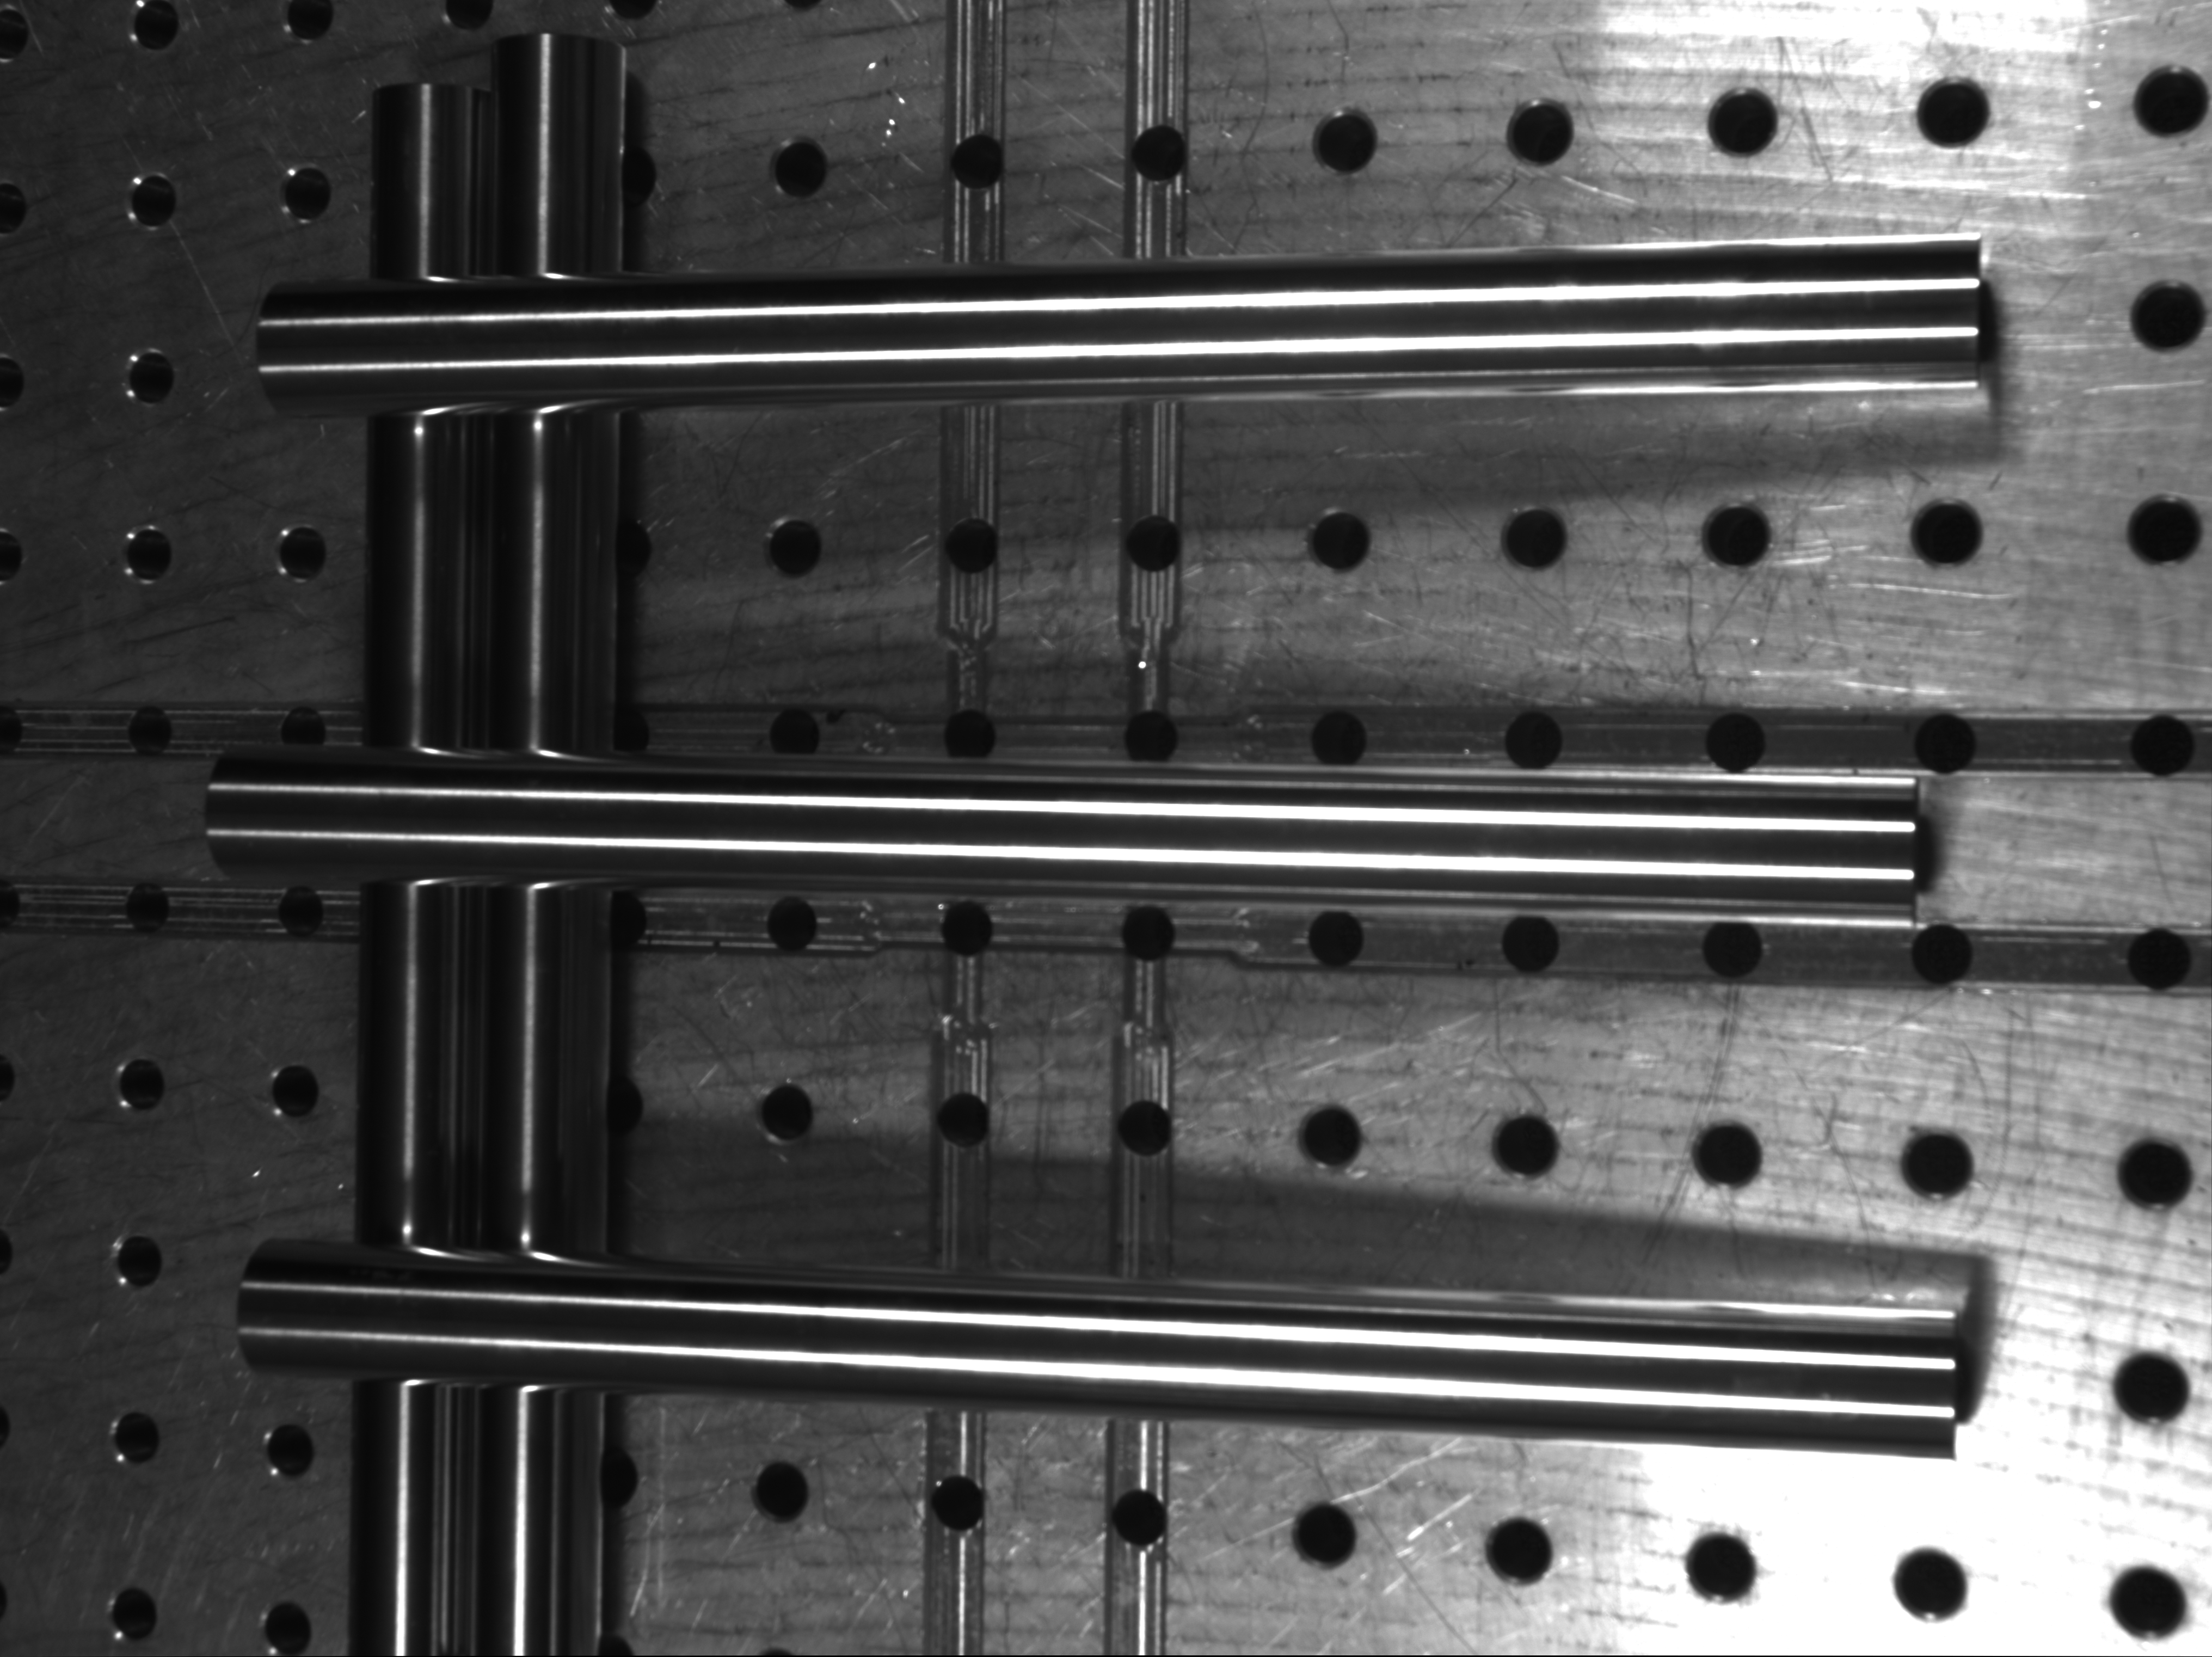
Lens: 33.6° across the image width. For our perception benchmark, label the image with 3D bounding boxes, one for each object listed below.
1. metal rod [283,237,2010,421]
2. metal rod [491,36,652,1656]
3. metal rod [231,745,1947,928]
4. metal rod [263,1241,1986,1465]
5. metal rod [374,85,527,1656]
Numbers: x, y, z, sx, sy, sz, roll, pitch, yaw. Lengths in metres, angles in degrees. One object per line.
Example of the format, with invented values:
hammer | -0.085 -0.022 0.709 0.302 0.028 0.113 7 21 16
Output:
metal rod | 0.001 -0.085 0.631 0.300 0.025 0.025 1 90 14
metal rod | -0.099 0.005 0.682 0.025 0.025 0.300 1 90 20
metal rod | -0.008 0.001 0.634 0.300 0.025 0.025 1 90 14
metal rod | -0.002 0.089 0.632 0.300 0.025 0.025 1 90 14
metal rod | -0.123 0.013 0.690 0.025 0.025 0.300 1 90 20
